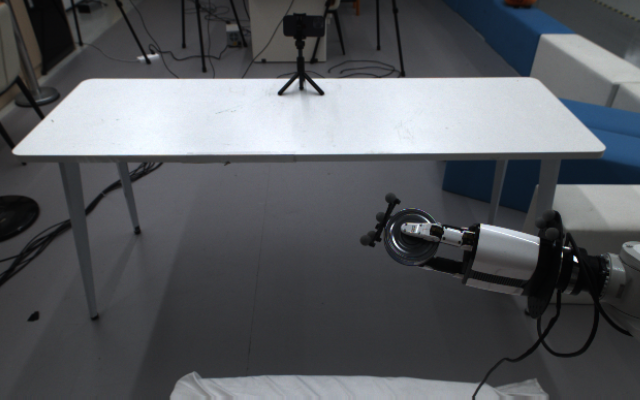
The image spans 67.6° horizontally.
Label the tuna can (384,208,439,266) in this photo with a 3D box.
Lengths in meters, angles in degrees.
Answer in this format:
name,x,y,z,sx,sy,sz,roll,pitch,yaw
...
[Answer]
name,x,y,z,sx,sy,sz,roll,pitch,yaw
tuna can,0.144,0.055,0.744,0.085,0.034,0.085,-2,71,5
